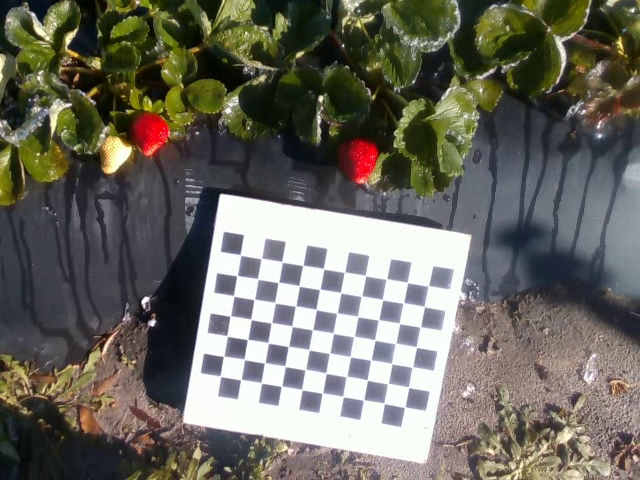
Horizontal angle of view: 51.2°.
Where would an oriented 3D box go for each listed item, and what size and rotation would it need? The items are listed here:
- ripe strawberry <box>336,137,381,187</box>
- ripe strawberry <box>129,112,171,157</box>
[{"bbox_3d":[0.042,-0.084,0.725,0.048,0.061,0.044,3,-27,-1],"label":"ripe strawberry"},{"bbox_3d":[-0.185,-0.109,0.728,0.042,0.061,0.046,-5,-36,0],"label":"ripe strawberry"}]
